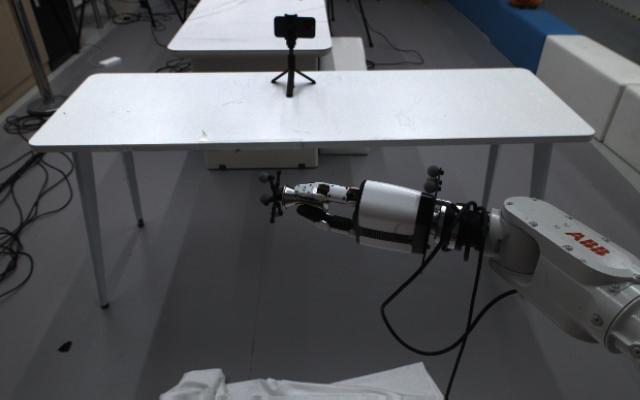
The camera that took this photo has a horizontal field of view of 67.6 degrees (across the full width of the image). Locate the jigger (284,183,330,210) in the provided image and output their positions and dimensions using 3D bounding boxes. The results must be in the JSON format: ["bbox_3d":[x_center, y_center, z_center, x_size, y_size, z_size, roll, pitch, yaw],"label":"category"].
[{"bbox_3d":[-0.015,-0.008,0.766,0.071,0.043,0.043,3,34,14],"label":"jigger"}]
